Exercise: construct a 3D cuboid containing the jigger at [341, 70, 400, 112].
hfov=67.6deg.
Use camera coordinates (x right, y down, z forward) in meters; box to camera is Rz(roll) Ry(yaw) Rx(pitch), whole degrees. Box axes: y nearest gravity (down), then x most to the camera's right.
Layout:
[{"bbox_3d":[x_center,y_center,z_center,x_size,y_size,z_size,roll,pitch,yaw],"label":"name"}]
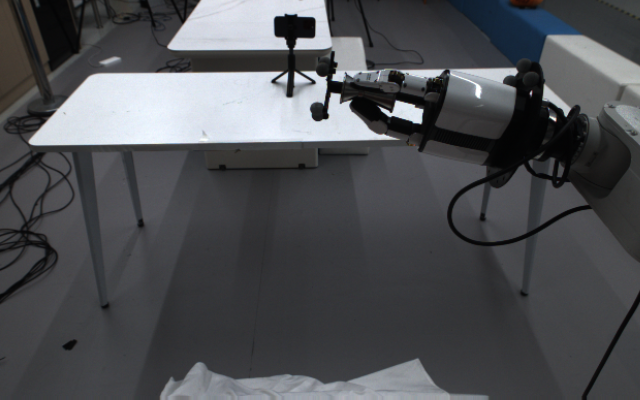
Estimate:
[{"bbox_3d":[0.065,-0.143,0.622,0.071,0.043,0.043,8,35,1],"label":"jigger"}]
